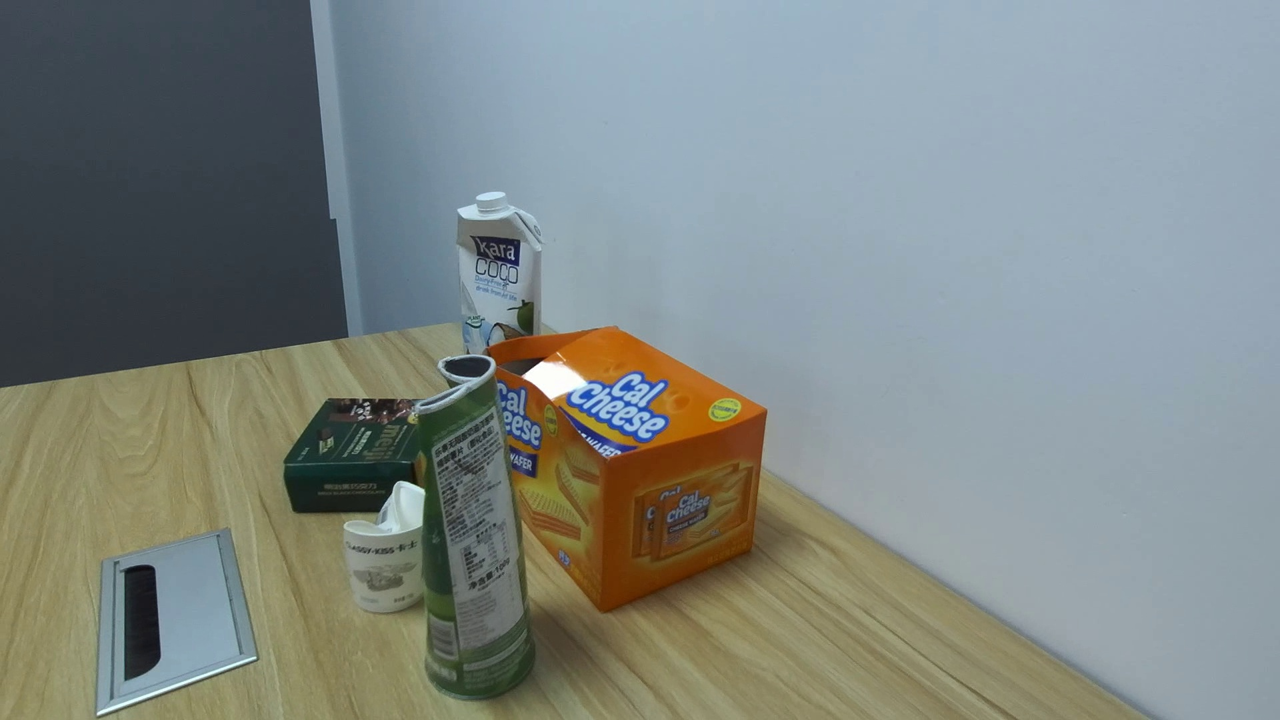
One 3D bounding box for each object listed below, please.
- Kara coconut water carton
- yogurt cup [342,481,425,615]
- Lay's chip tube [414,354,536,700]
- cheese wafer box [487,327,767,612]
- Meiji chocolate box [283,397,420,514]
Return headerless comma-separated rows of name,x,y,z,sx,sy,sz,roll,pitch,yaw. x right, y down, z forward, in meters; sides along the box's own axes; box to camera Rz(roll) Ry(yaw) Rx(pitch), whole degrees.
Kara coconut water carton,-0.144,-0.056,0.737,0.115,0.238,0.069,13,28,20
yogurt cup,-0.171,0.132,0.490,0.067,0.070,0.067,3,21,-1
Lay's chip tube,-0.099,0.098,0.416,0.069,0.201,0.077,-11,23,-28
cheese wafer box,-0.028,0.072,0.591,0.153,0.132,0.229,-13,28,-31
Meiji chocolate box,-0.239,0.087,0.630,0.122,0.058,0.115,-3,26,-5
